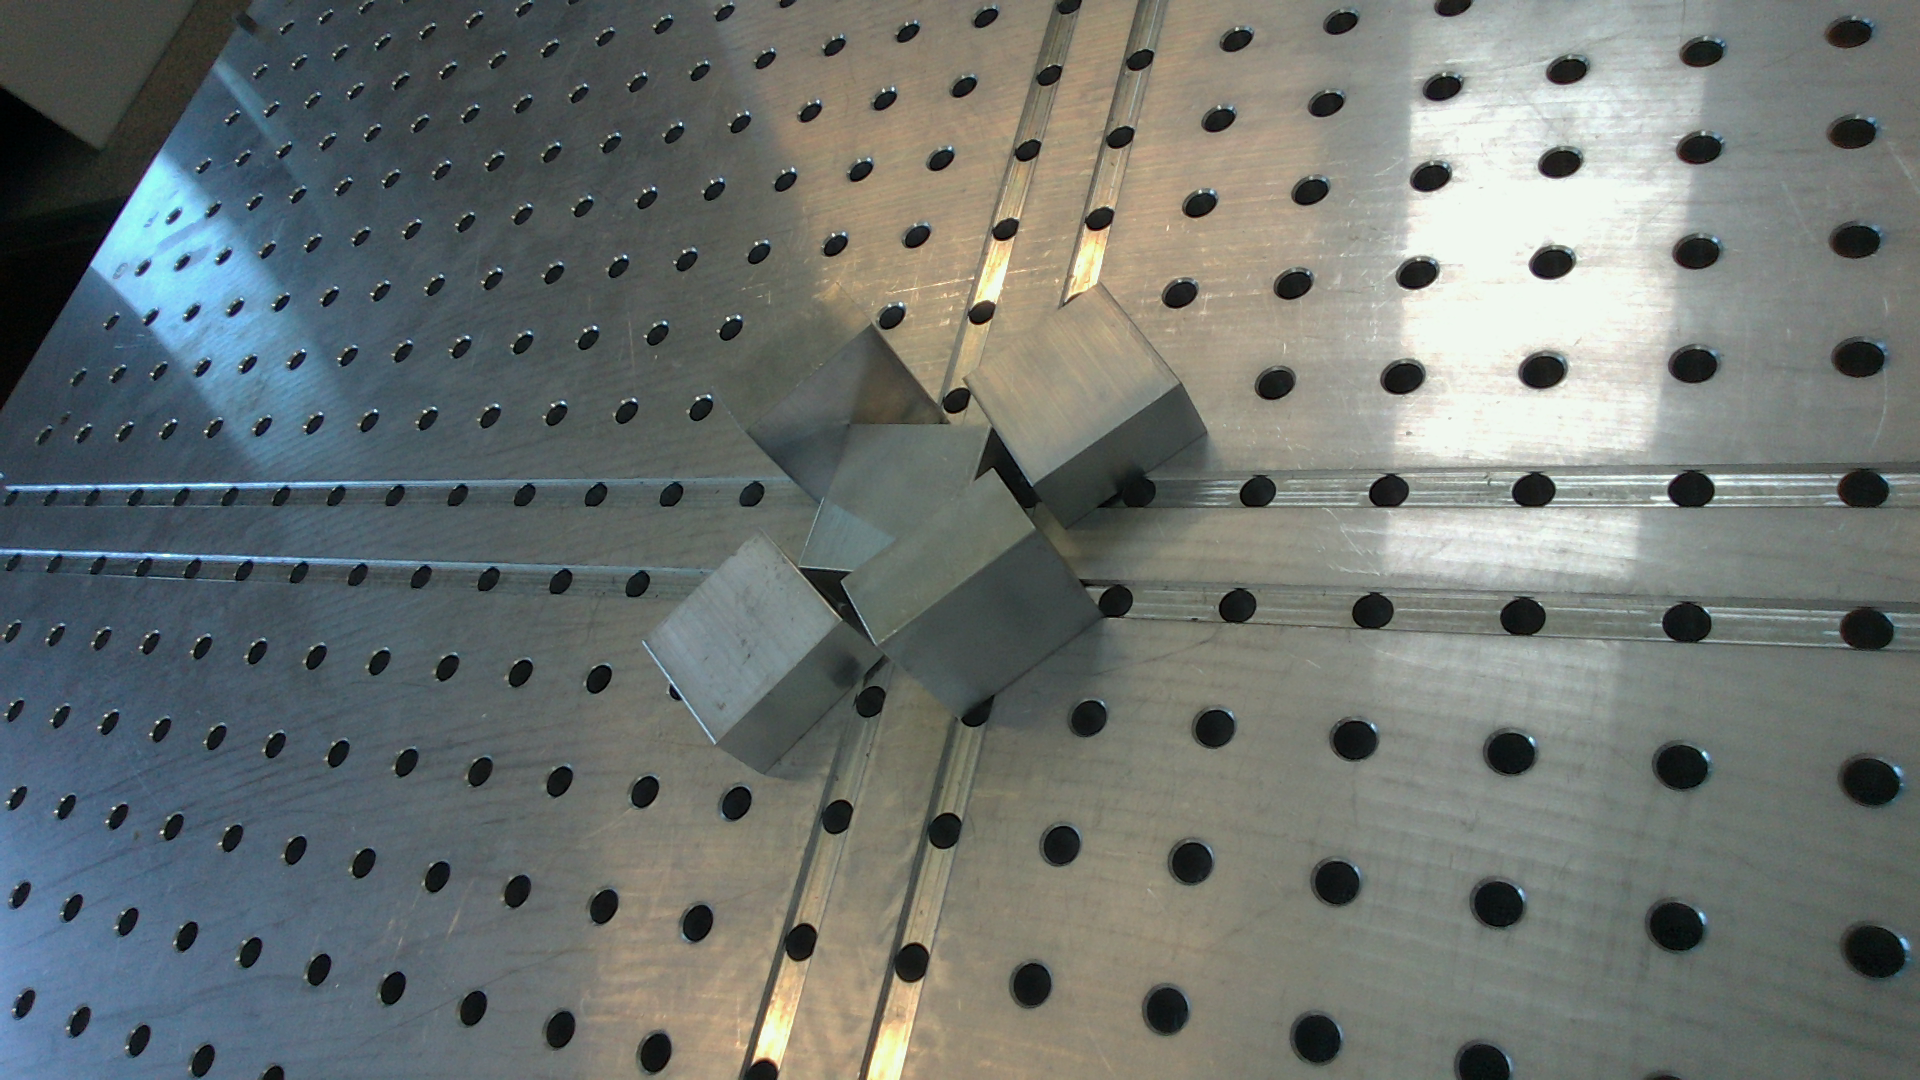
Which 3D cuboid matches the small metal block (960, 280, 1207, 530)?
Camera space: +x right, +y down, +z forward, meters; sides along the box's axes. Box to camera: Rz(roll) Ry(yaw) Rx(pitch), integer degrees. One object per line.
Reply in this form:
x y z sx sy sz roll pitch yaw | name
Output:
0.035 -0.040 0.402 0.050 0.025 0.050 -35 51 6 | small metal block

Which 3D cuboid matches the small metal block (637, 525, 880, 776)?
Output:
-0.060 0.032 0.409 0.050 0.025 0.050 -44 51 -3 | small metal block

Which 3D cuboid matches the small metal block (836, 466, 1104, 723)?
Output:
0.004 0.016 0.369 0.050 0.050 0.025 -36 50 4 | small metal block

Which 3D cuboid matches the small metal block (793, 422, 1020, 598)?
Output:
-0.015 -0.007 0.408 0.050 0.025 0.050 3 62 31 | small metal block

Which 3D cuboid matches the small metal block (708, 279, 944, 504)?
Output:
-0.041 -0.044 0.429 0.050 0.050 0.025 -40 51 2 | small metal block
